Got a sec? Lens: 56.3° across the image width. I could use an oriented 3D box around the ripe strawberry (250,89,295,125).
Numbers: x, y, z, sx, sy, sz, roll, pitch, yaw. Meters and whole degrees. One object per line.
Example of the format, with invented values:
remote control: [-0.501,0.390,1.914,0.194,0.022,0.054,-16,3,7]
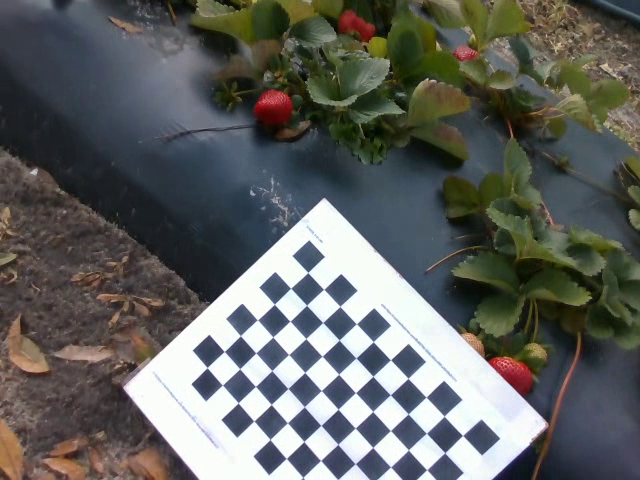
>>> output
ripe strawberry: [-0.059,-0.164,0.723,0.050,0.049,0.053,39,17,8]
